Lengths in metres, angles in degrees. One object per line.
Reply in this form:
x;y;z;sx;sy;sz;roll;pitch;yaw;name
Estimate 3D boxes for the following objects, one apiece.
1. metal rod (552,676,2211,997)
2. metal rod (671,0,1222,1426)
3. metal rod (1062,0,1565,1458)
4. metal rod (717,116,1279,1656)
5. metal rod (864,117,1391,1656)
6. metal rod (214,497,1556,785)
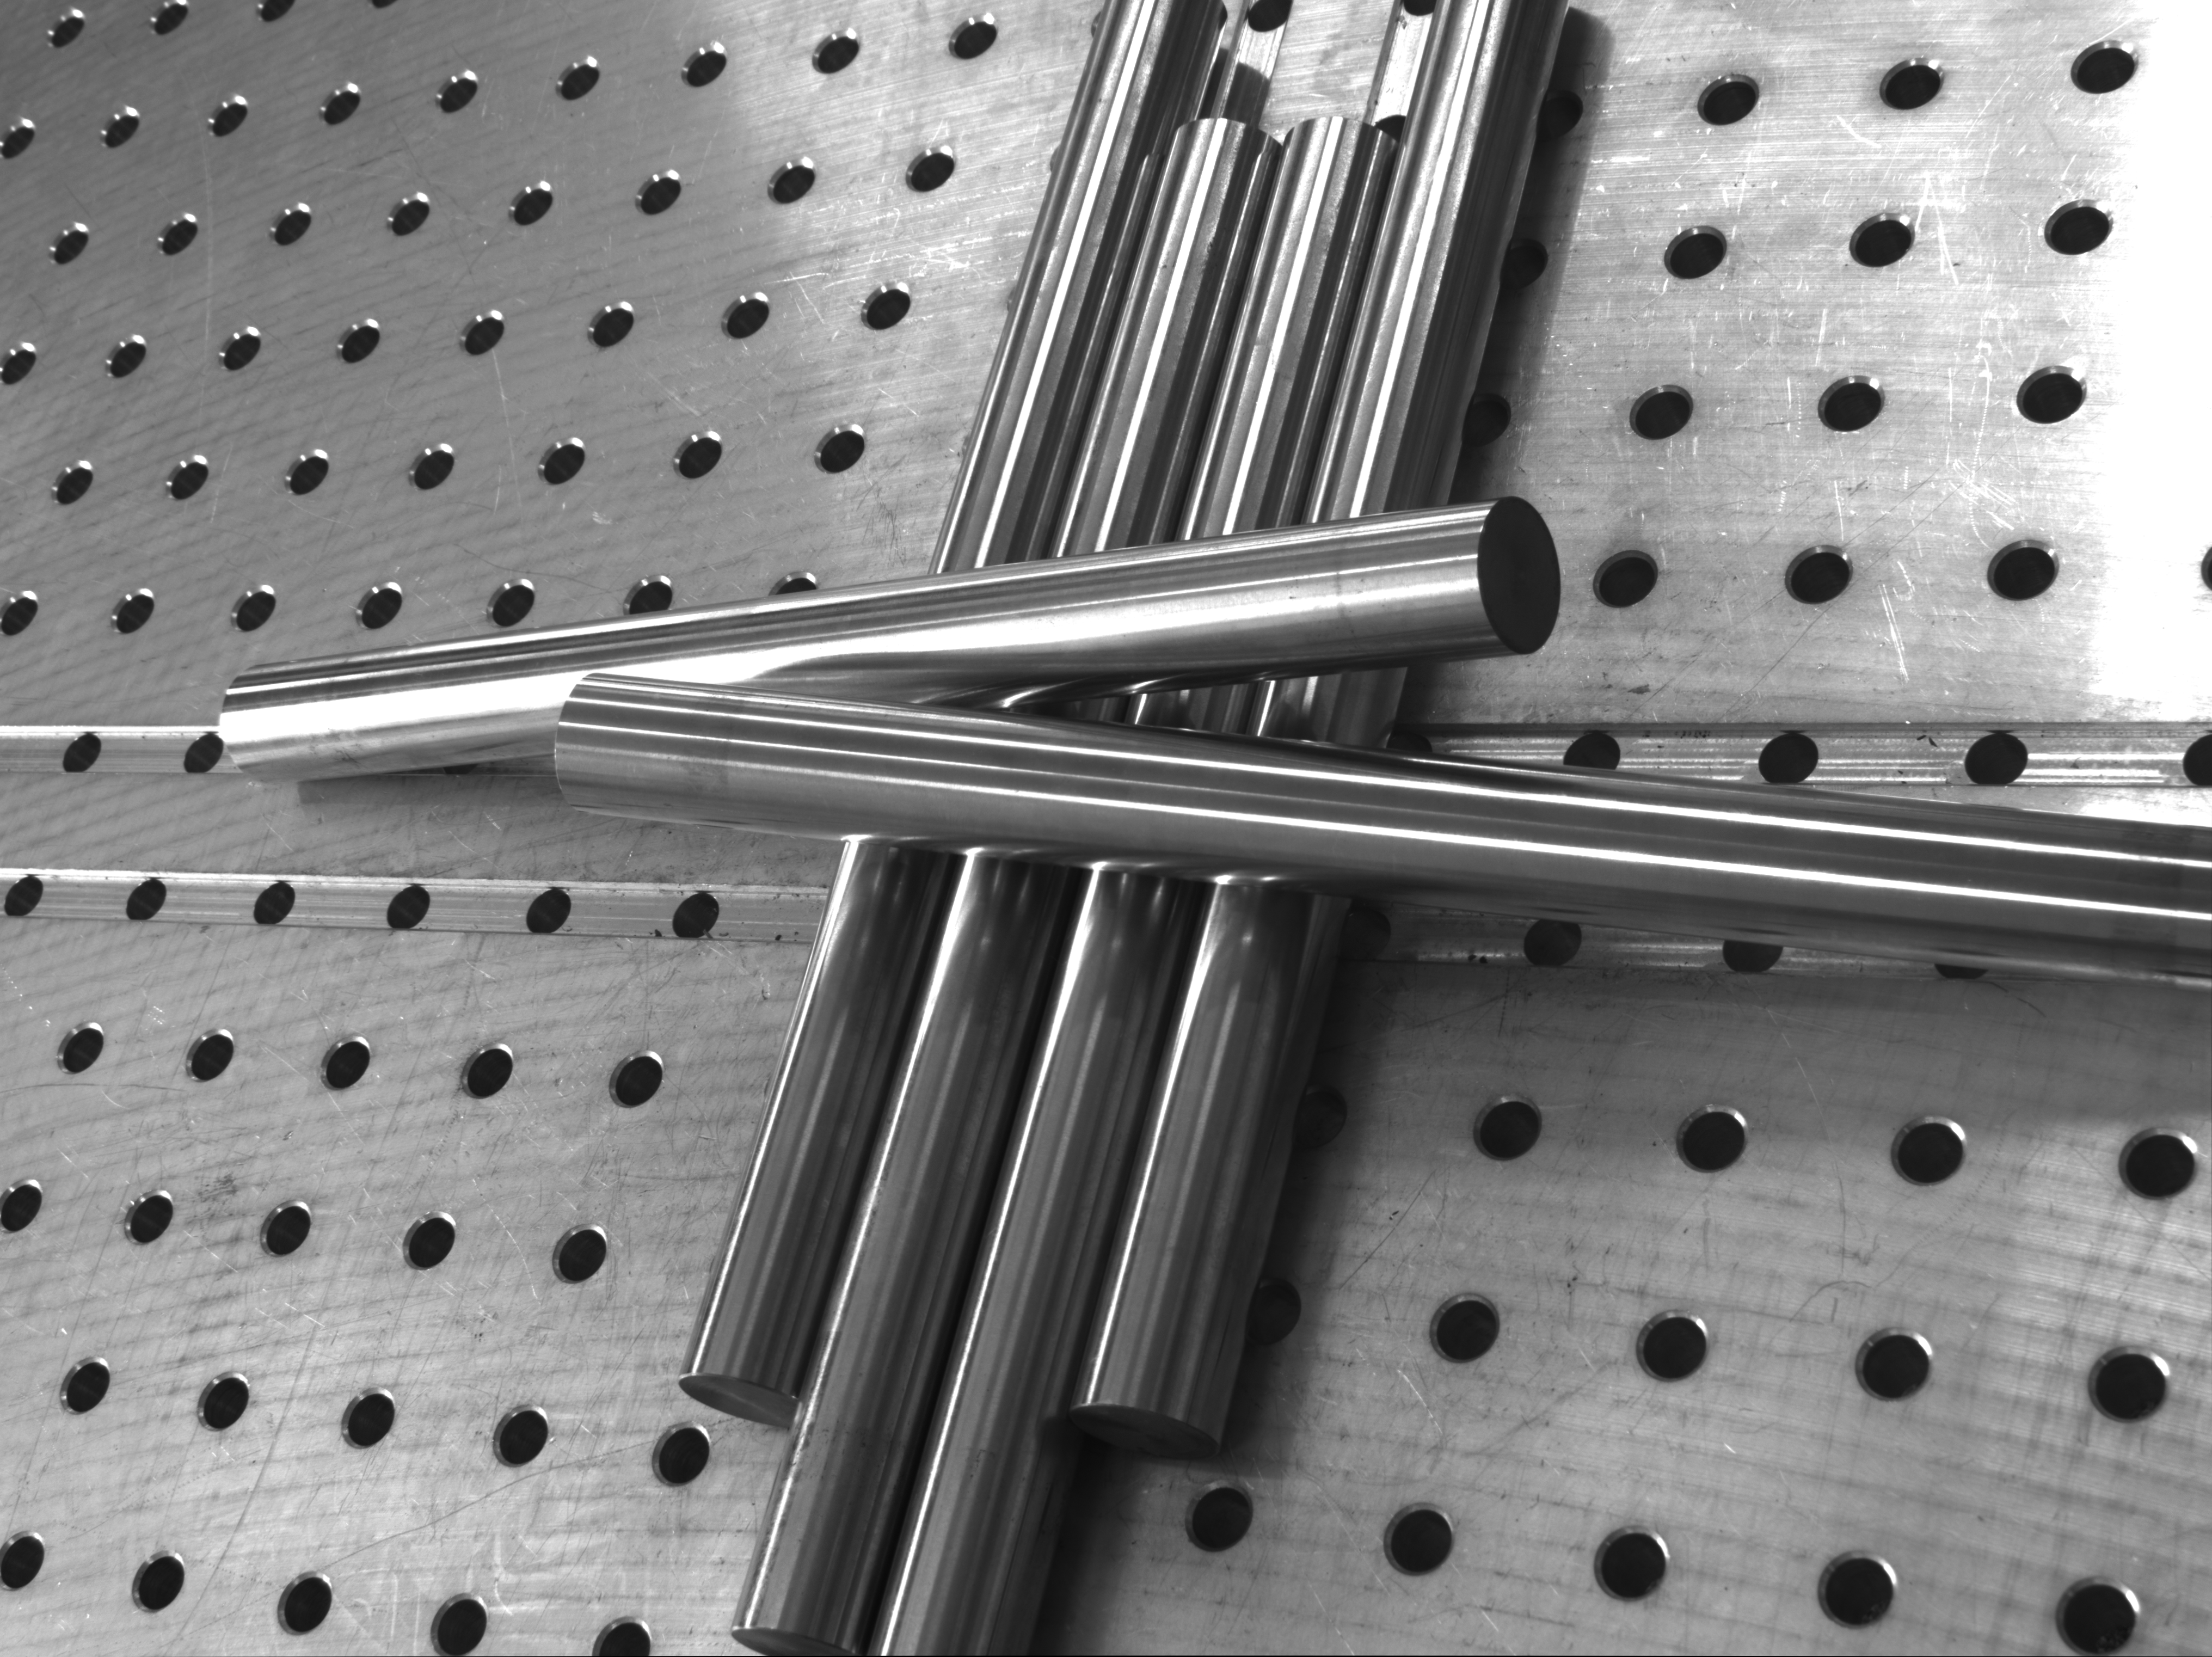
0.047;0.000;0.597;0.299;0.025;0.025;6;64;22;metal rod
-0.025;-0.035;0.683;0.025;0.025;0.300;1;62;29;metal rod
0.042;-0.036;0.647;0.025;0.025;0.300;1;62;29;metal rod
-0.014;0.001;0.654;0.025;0.025;0.300;1;62;29;metal rod
0.010;0.003;0.643;0.025;0.025;0.300;1;62;29;metal rod
-0.055;-0.031;0.667;0.299;0.025;0.025;-4;59;37;metal rod
